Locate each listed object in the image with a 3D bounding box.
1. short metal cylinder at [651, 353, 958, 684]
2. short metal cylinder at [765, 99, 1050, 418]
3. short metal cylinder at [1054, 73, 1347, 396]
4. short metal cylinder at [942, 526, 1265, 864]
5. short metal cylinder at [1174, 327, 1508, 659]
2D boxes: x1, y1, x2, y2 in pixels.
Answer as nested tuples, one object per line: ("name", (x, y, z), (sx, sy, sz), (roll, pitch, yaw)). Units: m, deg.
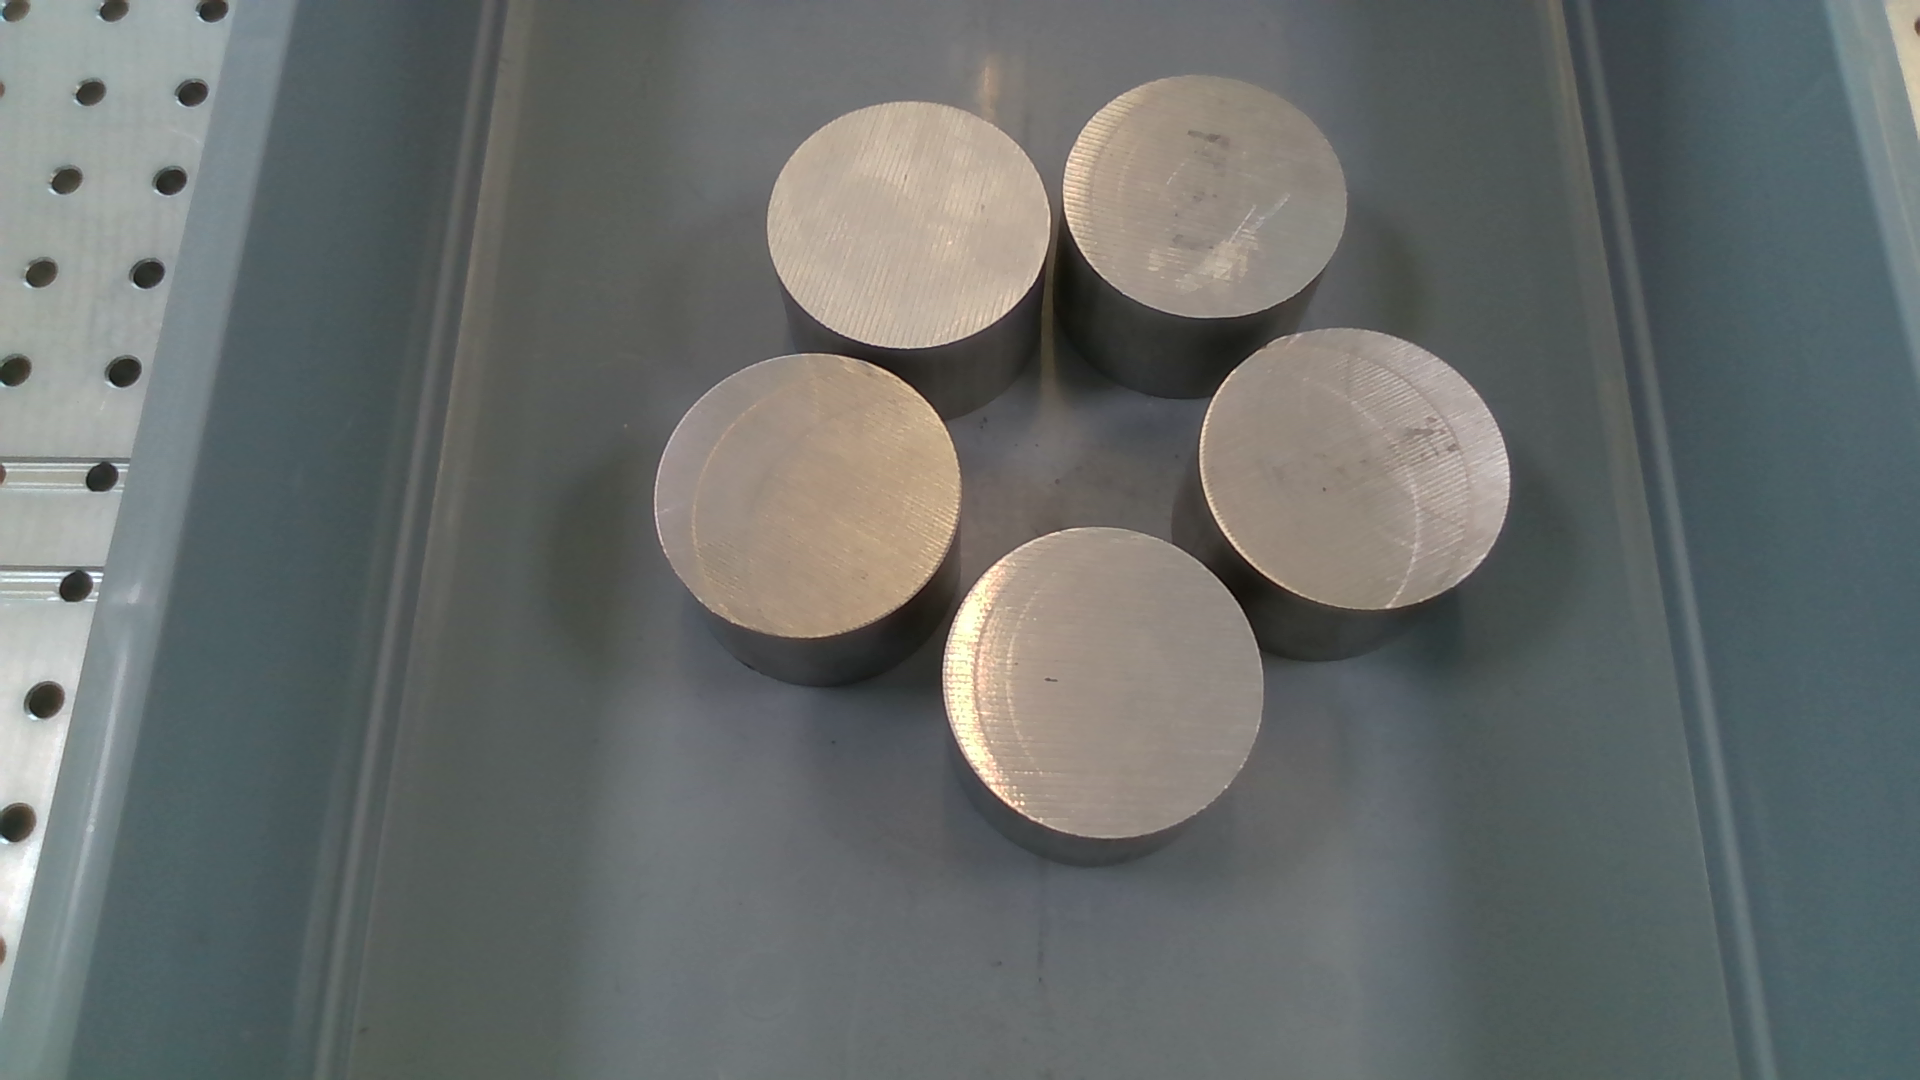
("short metal cylinder", (-0.040, -0.004, 0.382), (0.080, 0.050, 0.080), (0, 70, 0))
("short metal cylinder", (-0.015, -0.082, 0.410), (0.080, 0.050, 0.080), (0, 70, 0))
("short metal cylinder", (0.069, -0.090, 0.413), (0.080, 0.050, 0.080), (0, 70, 0))
("short metal cylinder", (0.036, 0.042, 0.366), (0.080, 0.050, 0.080), (0, 70, 0))
("short metal cylinder", (0.104, -0.012, 0.385), (0.080, 0.050, 0.080), (0, 70, 0))
